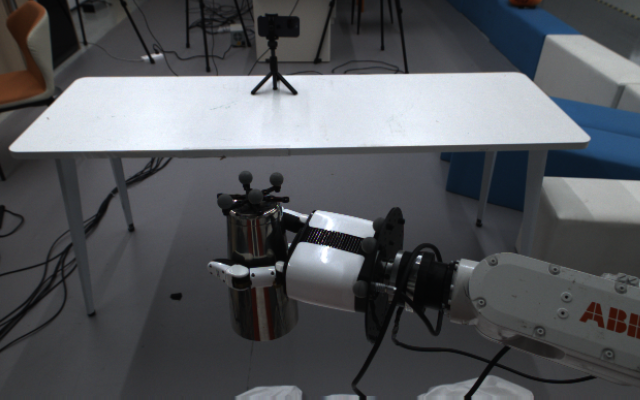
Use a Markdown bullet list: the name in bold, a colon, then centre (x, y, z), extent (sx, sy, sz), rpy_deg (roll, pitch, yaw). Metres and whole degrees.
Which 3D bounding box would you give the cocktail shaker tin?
- **cocktail shaker tin**: centre (-0.074, 0.081, 0.614), extent (0.093, 0.170, 0.093), rpy_deg (-2, 26, 1)
